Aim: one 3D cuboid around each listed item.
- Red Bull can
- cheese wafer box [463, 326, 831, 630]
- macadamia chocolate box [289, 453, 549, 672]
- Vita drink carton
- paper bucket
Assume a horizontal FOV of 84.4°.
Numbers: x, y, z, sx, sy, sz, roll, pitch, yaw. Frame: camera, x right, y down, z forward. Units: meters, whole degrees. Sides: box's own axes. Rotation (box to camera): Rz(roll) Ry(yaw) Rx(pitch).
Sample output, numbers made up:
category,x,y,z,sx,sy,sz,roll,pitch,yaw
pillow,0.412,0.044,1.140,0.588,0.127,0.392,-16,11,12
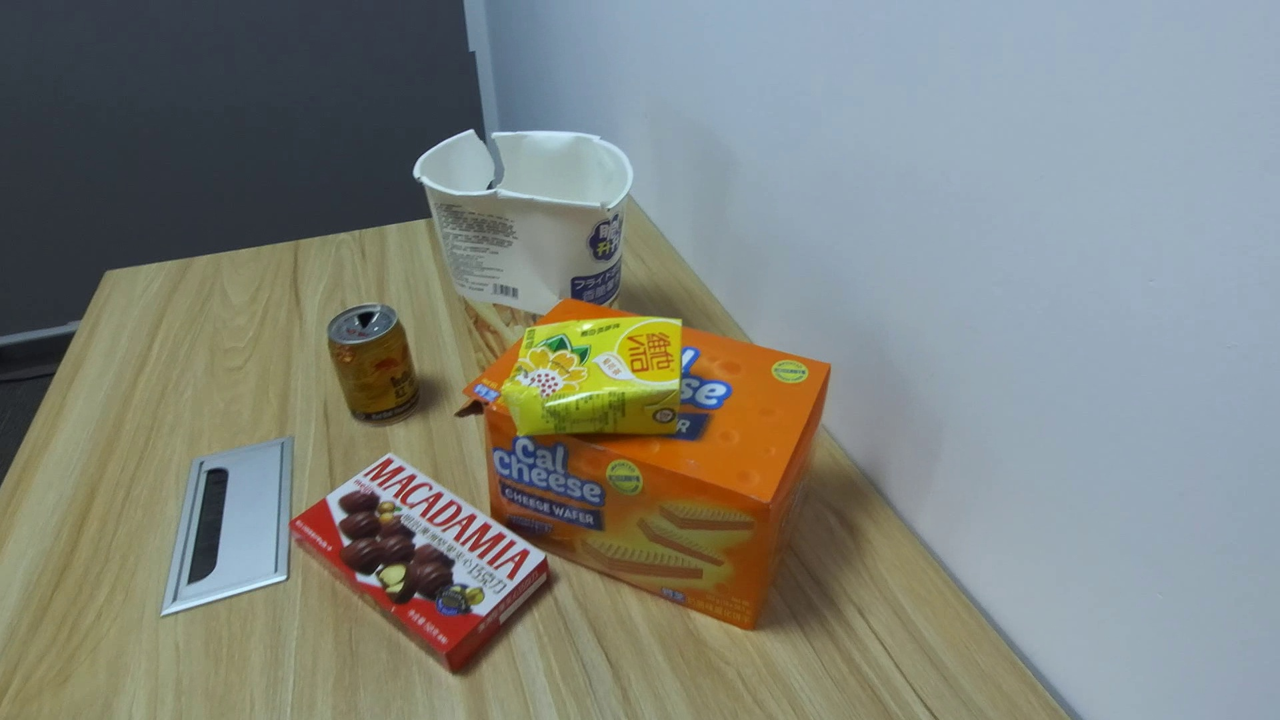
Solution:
category,x,y,z,sx,sy,sz,roll,pitch,yaw
Red Bull can,-0.241,0.005,0.642,0.068,0.093,0.068,0,35,1
cheese wafer box,0.008,0.062,0.517,0.226,0.137,0.150,16,41,21
macadamia chocolate box,-0.162,0.139,0.516,0.177,0.027,0.096,25,43,29
Vita drink carton,-0.027,0.012,0.453,0.108,0.042,0.087,-1,45,7
paper bucket,-0.099,-0.099,0.676,0.202,0.197,0.146,7,38,11
